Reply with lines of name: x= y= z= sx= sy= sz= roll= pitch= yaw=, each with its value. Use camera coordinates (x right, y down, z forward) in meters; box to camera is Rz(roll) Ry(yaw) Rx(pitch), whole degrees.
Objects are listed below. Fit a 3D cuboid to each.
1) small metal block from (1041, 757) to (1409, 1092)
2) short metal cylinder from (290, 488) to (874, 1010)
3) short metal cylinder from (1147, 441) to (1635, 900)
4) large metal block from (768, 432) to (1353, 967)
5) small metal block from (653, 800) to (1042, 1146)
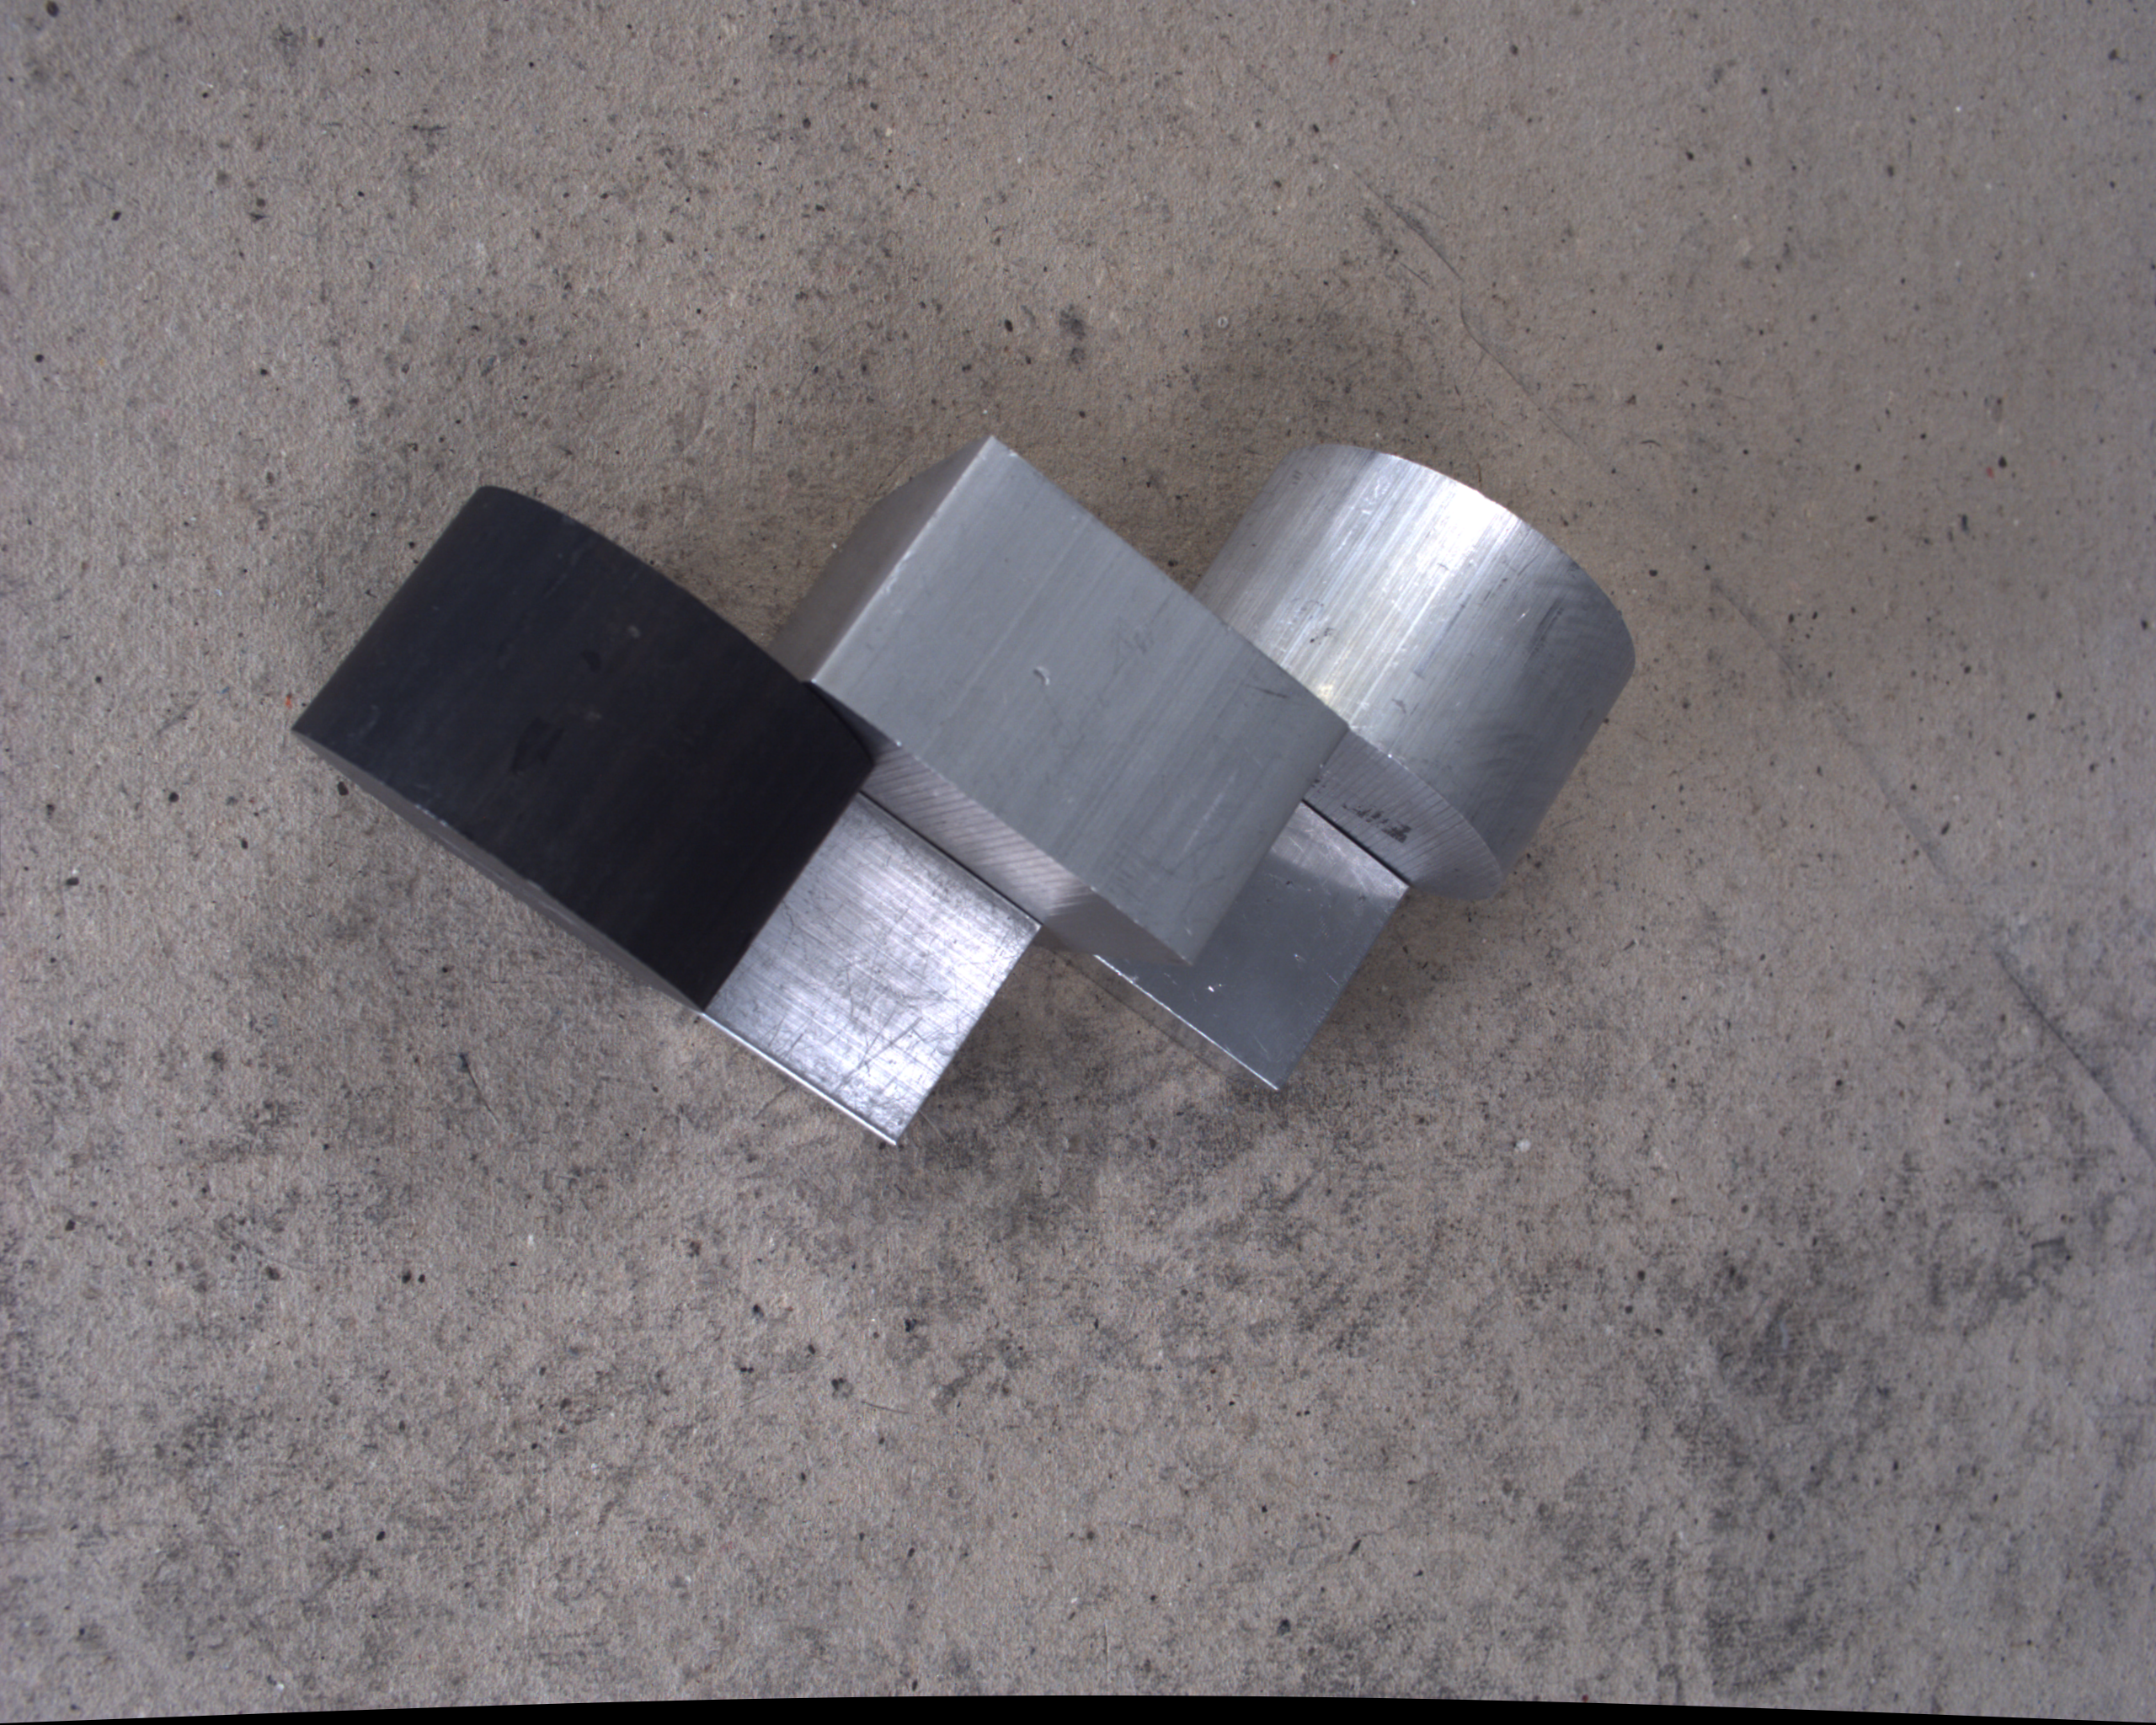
small metal block: x=0.030 y=0.011 z=0.422 sx=0.050 sy=0.025 sz=0.050 roll=37 pitch=78 yaw=-17
short metal cylinder: x=-0.082 y=-0.018 z=0.351 sx=0.080 sy=0.080 sz=0.050 roll=37 pitch=78 yaw=-17
short metal cylinder: x=0.059 y=-0.036 z=0.403 sx=0.080 sy=0.080 sz=0.050 roll=37 pitch=78 yaw=-17
large metal block: x=-0.011 y=-0.026 z=0.378 sx=0.080 sy=0.080 sz=0.050 roll=37 pitch=78 yaw=-17
small metal block: x=-0.044 y=0.018 z=0.395 sx=0.050 sy=0.025 sz=0.050 roll=37 pitch=78 yaw=-17
